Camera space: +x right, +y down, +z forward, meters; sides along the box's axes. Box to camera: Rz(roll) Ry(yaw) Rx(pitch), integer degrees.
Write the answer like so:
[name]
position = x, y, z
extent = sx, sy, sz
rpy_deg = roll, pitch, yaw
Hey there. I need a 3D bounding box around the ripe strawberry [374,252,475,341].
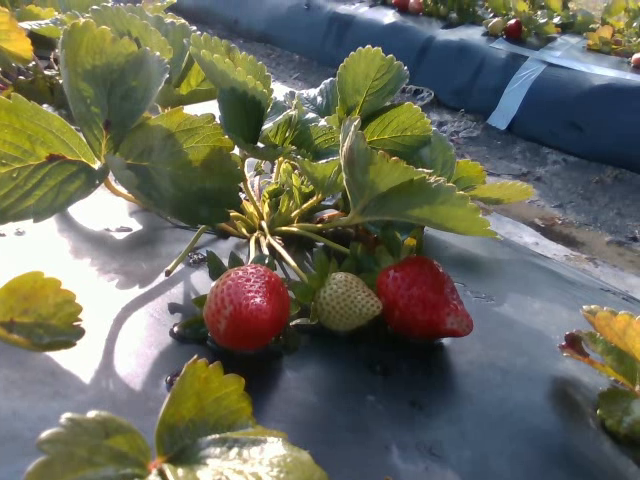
[ripe strawberry]
position = 0.056, 0.032, 0.315
extent = 0.065, 0.048, 0.050
rpy_deg = 47, -6, 42
